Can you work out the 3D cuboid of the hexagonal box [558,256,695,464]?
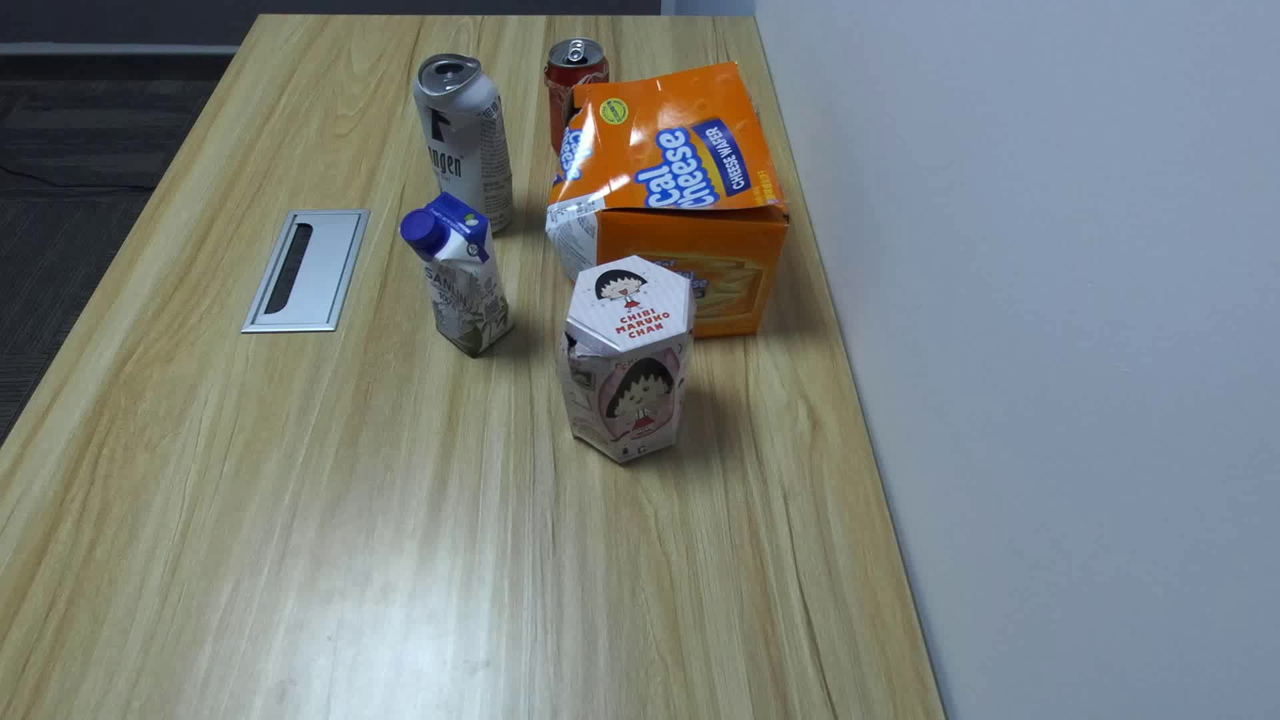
[{"bbox_3d":[-0.010,0.002,0.516,0.091,0.134,0.090,13,50,10],"label":"hexagonal box"}]

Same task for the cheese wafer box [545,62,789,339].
[{"bbox_3d":[0.012,-0.143,0.624,0.191,0.145,0.218,-5,52,-5],"label":"cheese wafer box"}]

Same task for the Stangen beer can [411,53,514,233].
[{"bbox_3d":[-0.159,-0.192,0.647,0.077,0.162,0.065,-6,52,-6],"label":"Stangen beer can"}]

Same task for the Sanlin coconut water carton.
[{"bbox_3d":[-0.147,-0.069,0.569,0.077,0.142,0.058,34,64,24],"label":"Sanlin coconut water carton"}]

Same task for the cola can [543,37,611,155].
[{"bbox_3d":[-0.063,-0.273,0.741,0.066,0.117,0.066,37,62,24],"label":"cola can"}]
